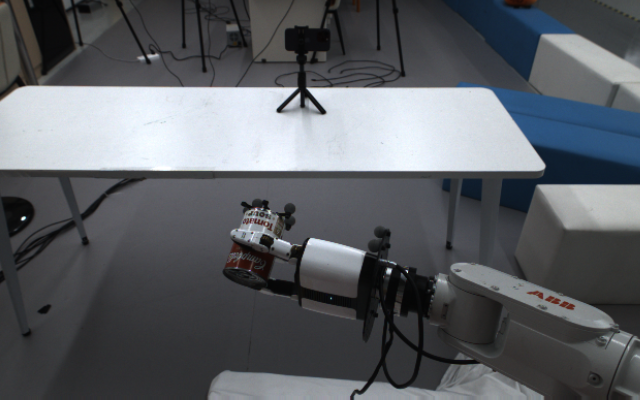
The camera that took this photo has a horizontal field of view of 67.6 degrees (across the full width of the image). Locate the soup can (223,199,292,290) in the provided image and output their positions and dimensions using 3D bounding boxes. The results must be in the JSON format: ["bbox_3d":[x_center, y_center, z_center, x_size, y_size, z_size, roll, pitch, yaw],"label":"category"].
[{"bbox_3d":[-0.095,0.071,0.717,0.067,0.067,0.101,9,61,10],"label":"soup can"}]
